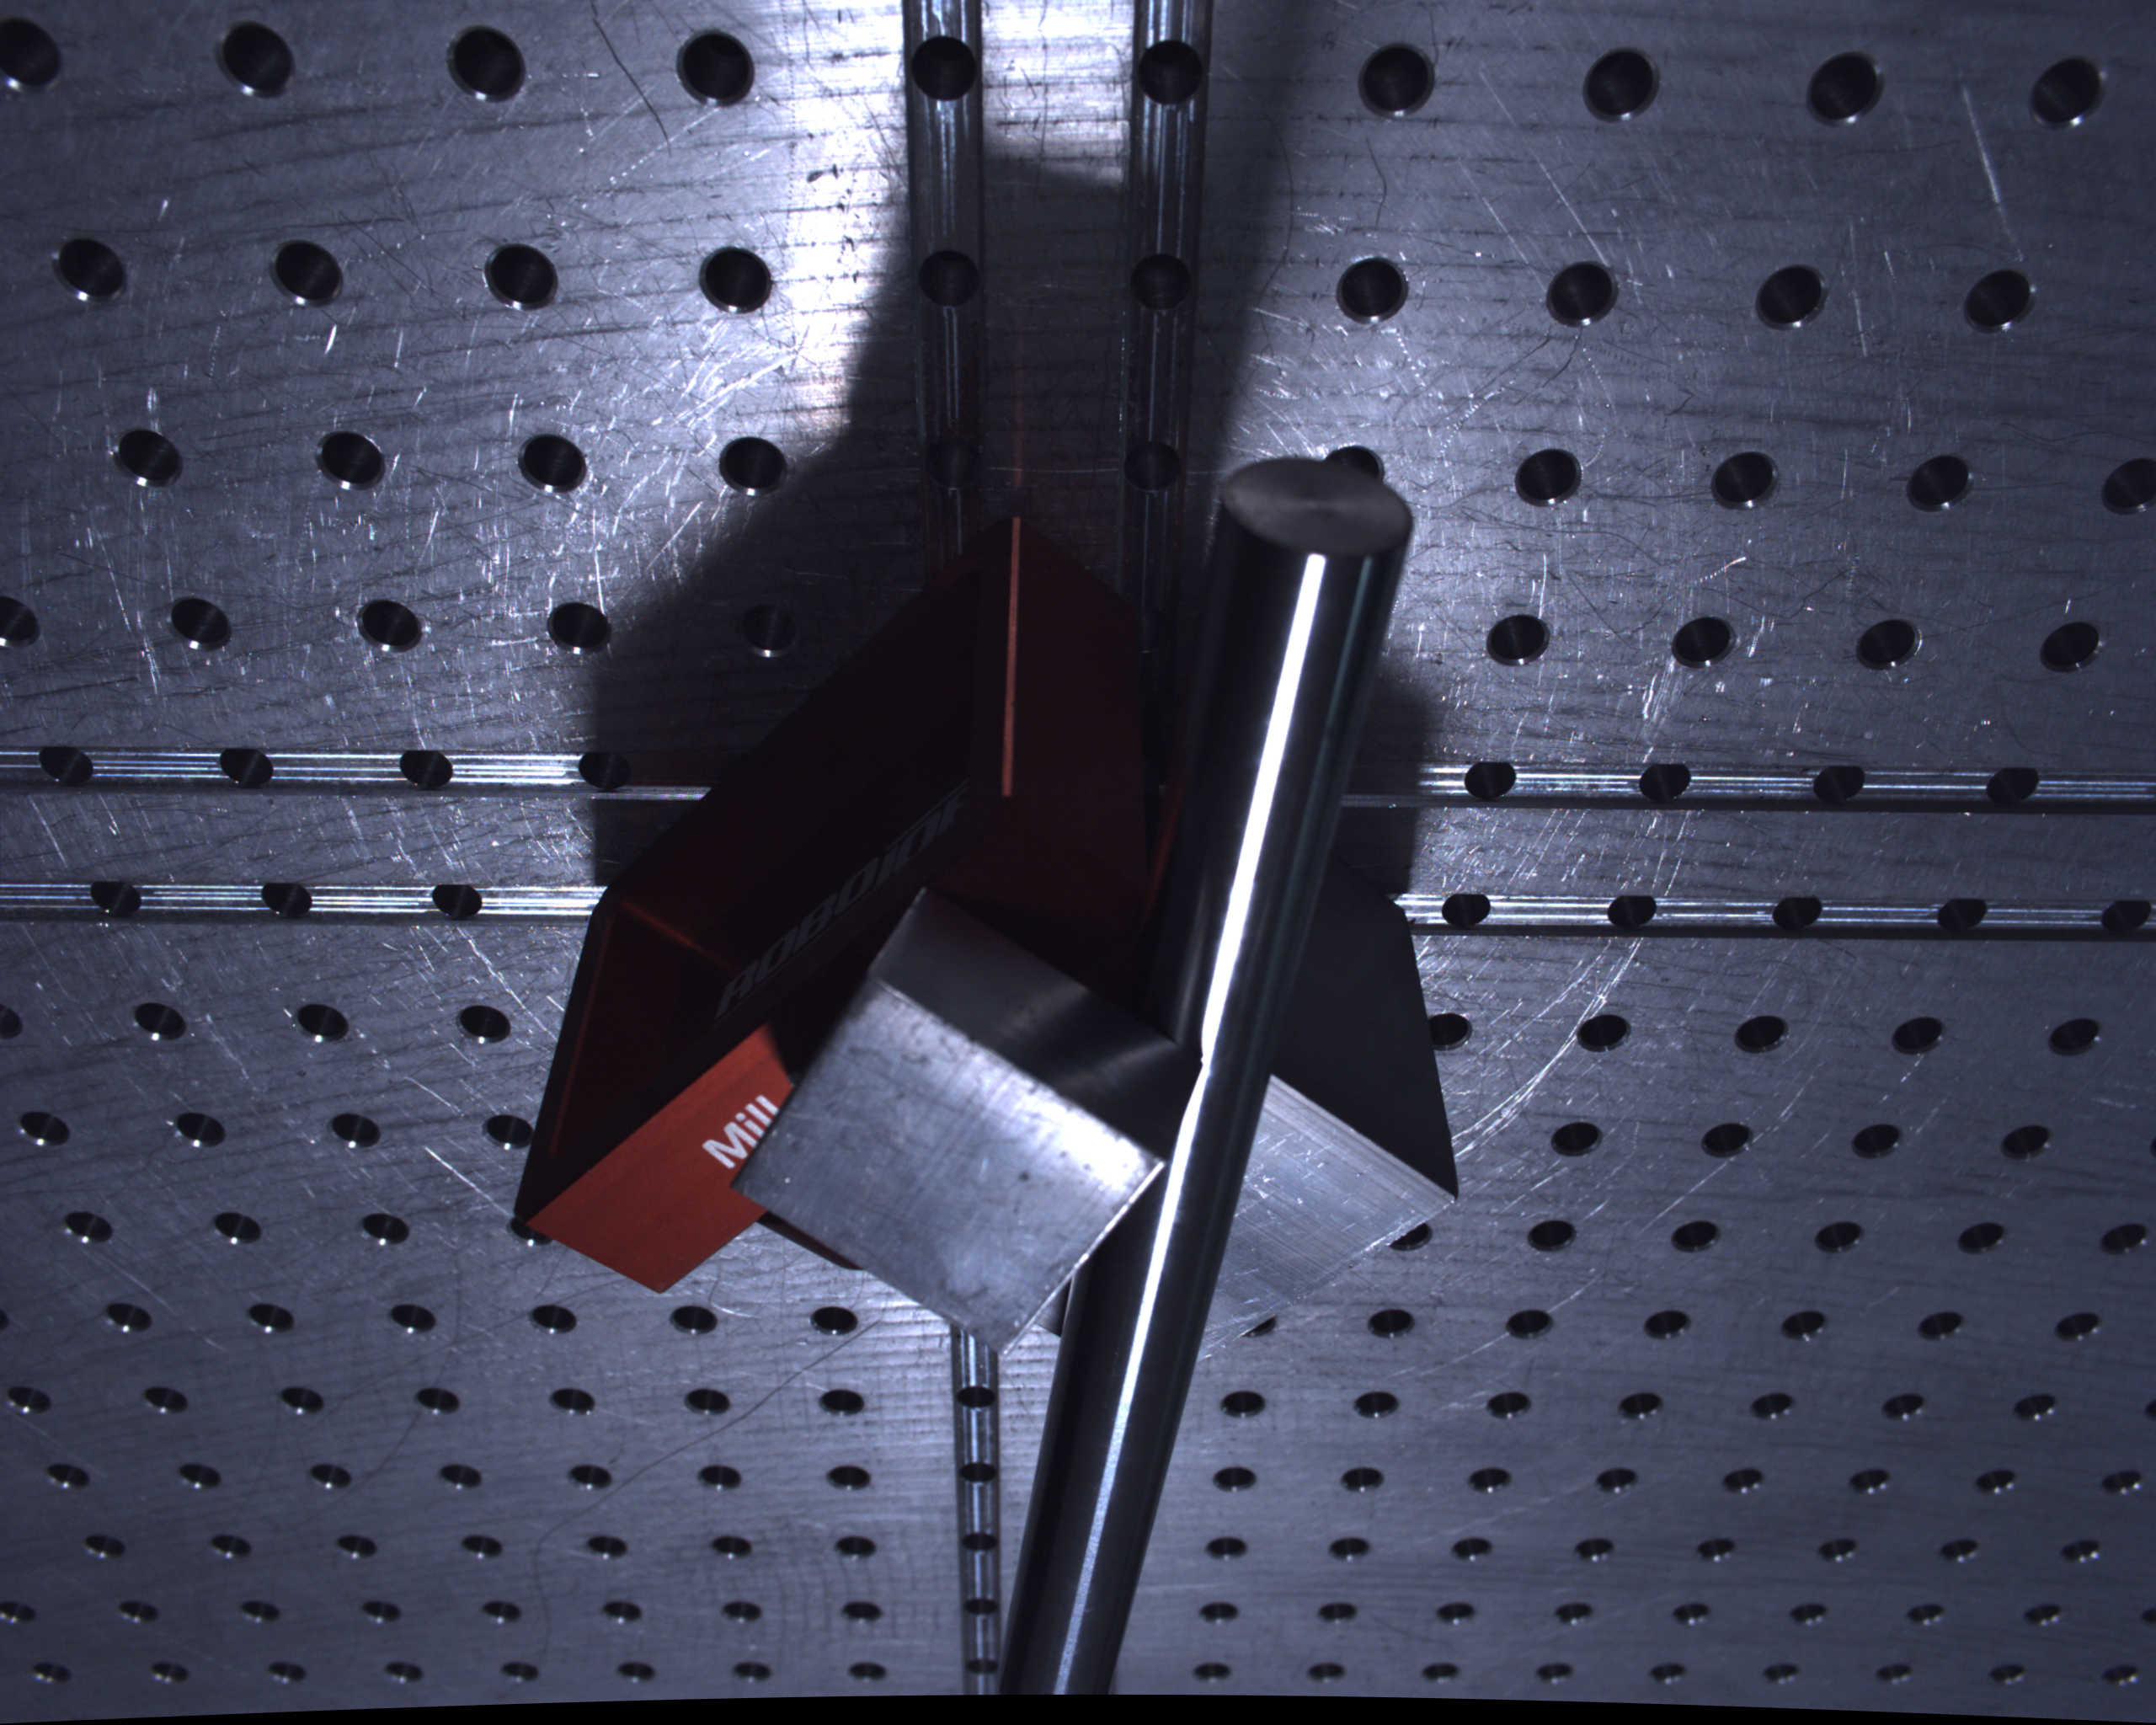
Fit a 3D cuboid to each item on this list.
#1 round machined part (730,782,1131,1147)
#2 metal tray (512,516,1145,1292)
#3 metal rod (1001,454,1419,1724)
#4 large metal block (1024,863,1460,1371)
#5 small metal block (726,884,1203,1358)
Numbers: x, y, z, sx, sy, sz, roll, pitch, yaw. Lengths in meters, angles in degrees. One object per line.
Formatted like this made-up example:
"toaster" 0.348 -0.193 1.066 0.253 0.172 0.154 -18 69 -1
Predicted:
"round machined part" -0.022 0.027 0.392 0.042 0.098 0.098 35 122 -26
"metal tray" -0.045 0.008 0.375 0.030 0.090 0.130 36 121 -27
"metal rod" 0.013 0.066 0.363 0.025 0.025 0.298 5 130 -5
"large metal block" 0.022 0.047 0.412 0.050 0.080 0.080 36 121 -27
"small metal block" -0.017 0.040 0.317 0.050 0.025 0.050 33 123 -3
